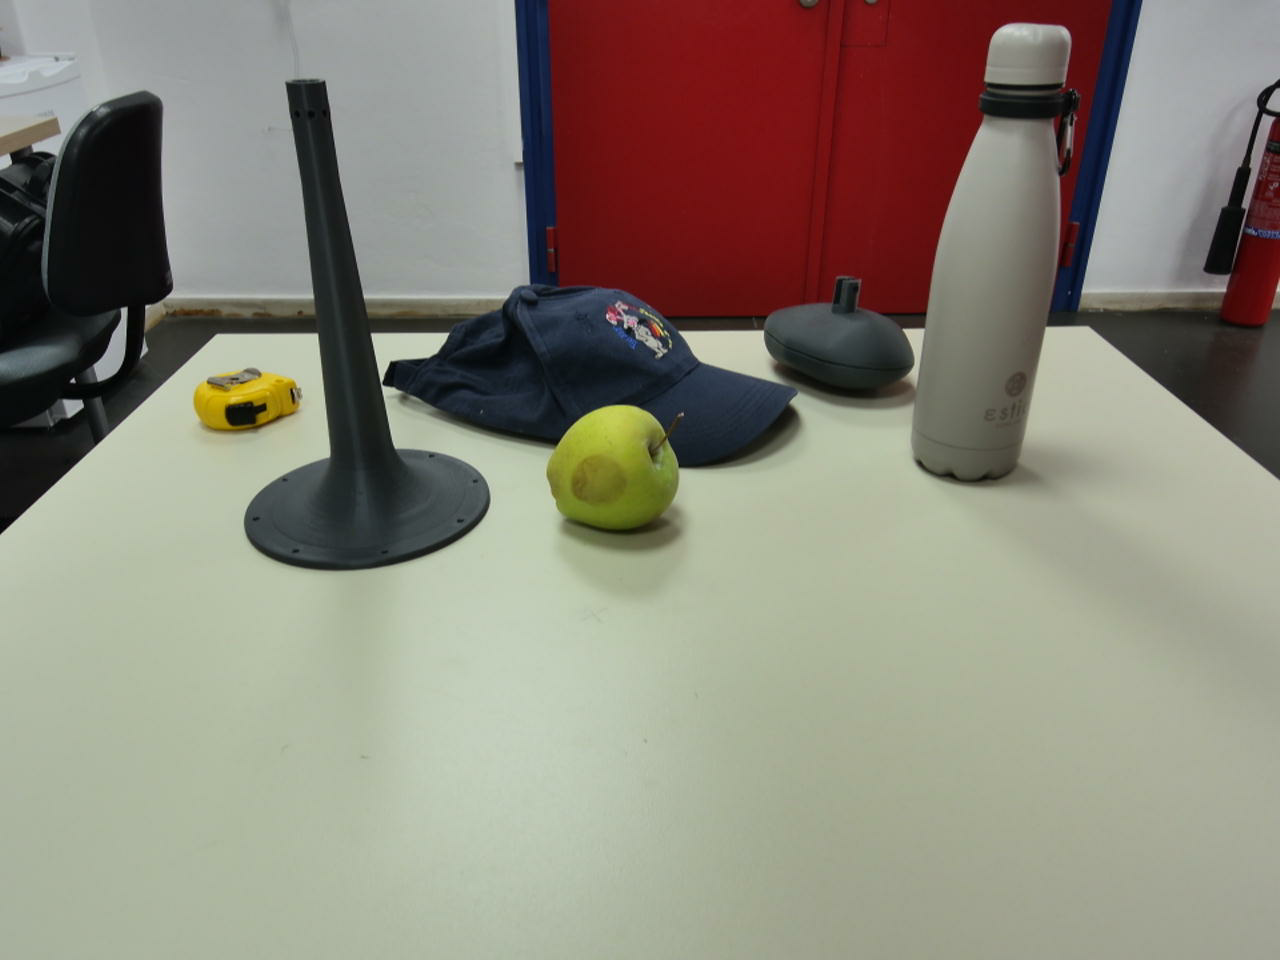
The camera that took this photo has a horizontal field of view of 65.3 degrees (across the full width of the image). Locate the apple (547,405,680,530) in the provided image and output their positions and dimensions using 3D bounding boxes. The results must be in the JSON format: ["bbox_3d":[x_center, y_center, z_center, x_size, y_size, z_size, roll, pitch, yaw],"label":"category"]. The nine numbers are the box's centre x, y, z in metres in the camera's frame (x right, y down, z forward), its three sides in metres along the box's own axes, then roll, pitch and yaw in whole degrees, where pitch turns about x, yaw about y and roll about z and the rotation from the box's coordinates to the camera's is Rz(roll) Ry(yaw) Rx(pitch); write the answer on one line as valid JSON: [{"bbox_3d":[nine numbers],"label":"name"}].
[{"bbox_3d":[-0.015,-0.009,0.604,0.077,0.075,0.072,23,34,38],"label":"apple"}]
